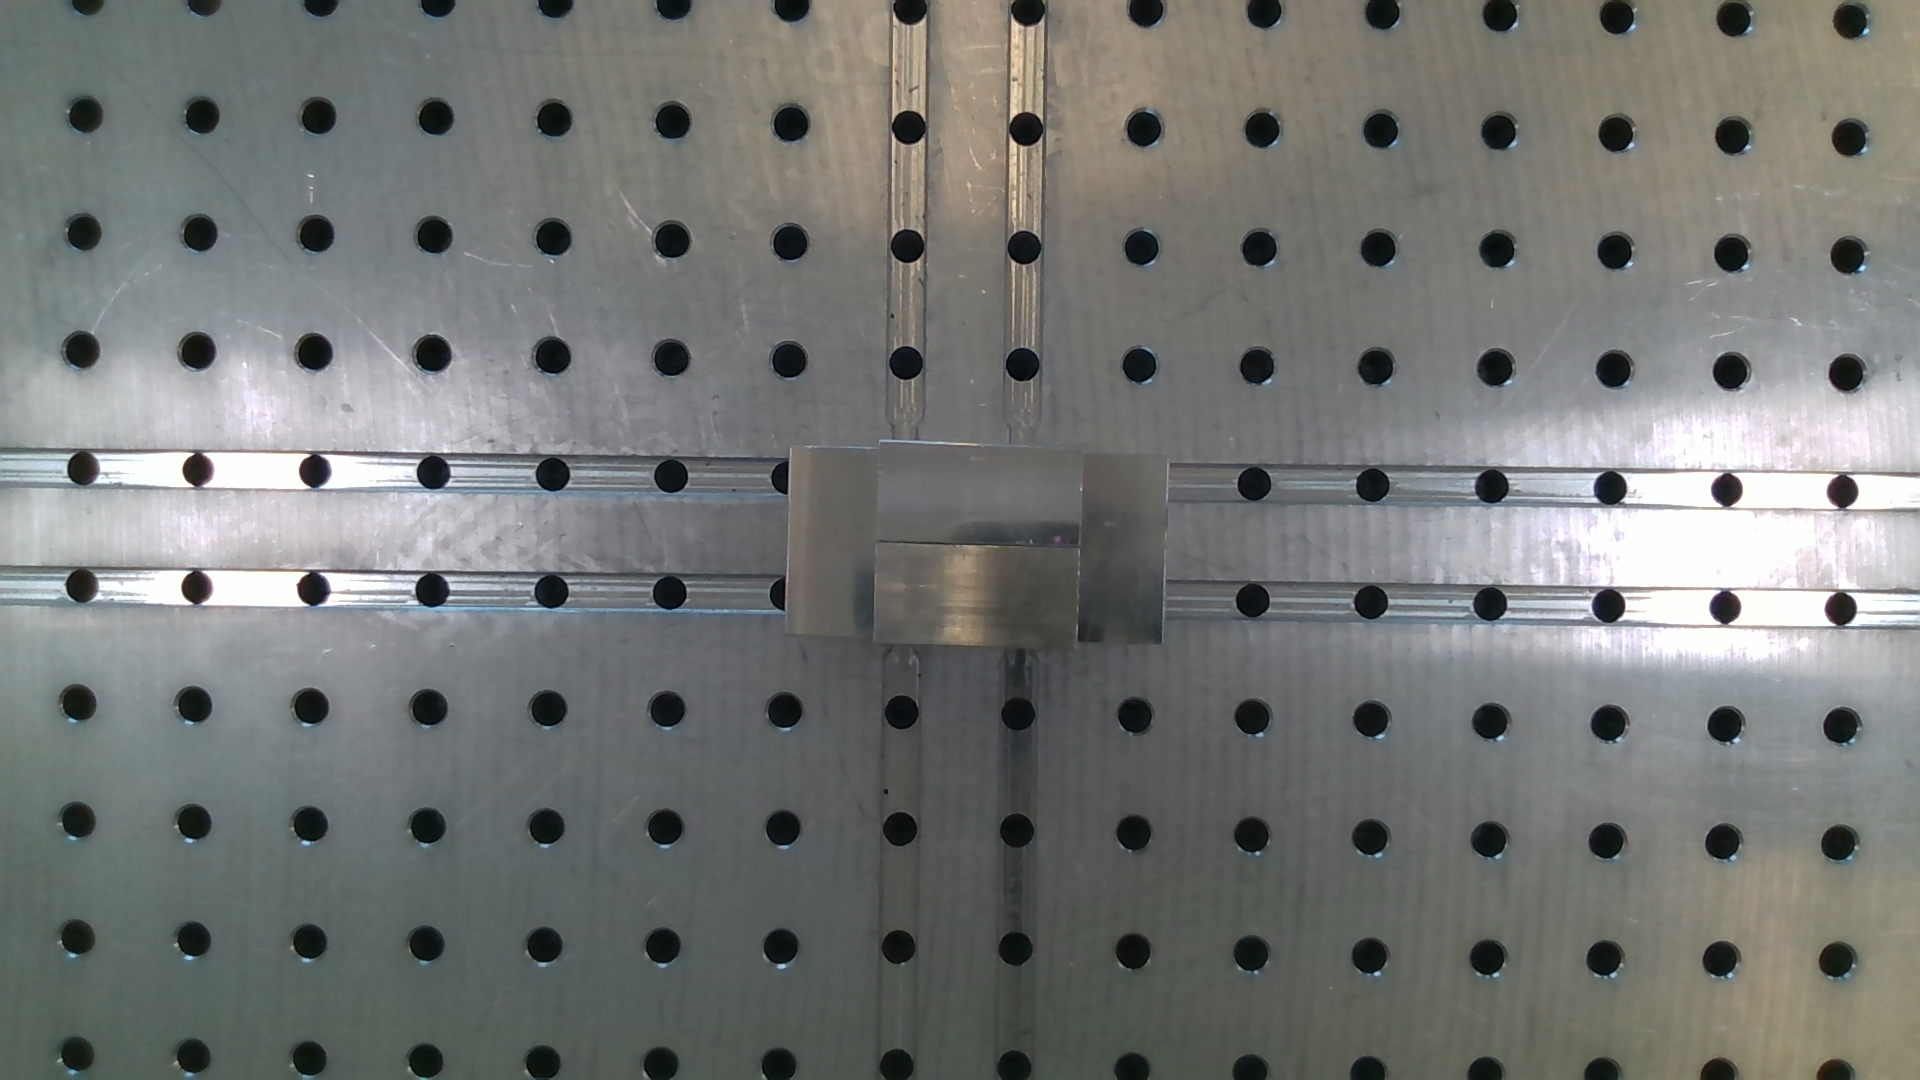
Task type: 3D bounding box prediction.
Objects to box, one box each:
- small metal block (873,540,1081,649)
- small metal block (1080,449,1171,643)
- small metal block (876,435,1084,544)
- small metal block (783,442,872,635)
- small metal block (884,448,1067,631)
[{"bbox_3d":[0.004,0.014,0.360,0.050,0.050,0.025,2,89,0],"label":"small metal block"},{"bbox_3d":[0.042,0.002,0.384,0.025,0.050,0.050,2,90,0],"label":"small metal block"},{"bbox_3d":[0.005,-0.012,0.360,0.050,0.050,0.025,2,90,0],"label":"small metal block"},{"bbox_3d":[-0.033,0.000,0.385,0.025,0.050,0.050,1,90,0],"label":"small metal block"},{"bbox_3d":[0.004,0.000,0.397,0.050,0.025,0.050,2,89,0],"label":"small metal block"}]
